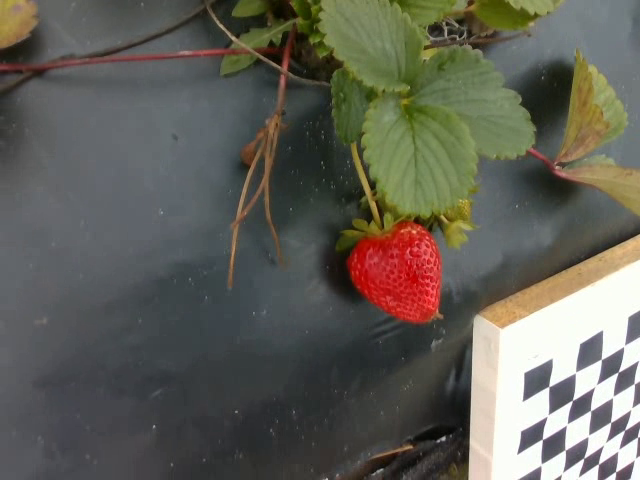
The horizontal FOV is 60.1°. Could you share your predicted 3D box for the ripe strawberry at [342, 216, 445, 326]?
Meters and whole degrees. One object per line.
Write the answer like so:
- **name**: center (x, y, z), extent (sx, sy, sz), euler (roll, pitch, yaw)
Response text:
- **ripe strawberry**: center (0.013, 0.005, 0.078), extent (0.018, 0.017, 0.014), euler (-19, -15, -36)
